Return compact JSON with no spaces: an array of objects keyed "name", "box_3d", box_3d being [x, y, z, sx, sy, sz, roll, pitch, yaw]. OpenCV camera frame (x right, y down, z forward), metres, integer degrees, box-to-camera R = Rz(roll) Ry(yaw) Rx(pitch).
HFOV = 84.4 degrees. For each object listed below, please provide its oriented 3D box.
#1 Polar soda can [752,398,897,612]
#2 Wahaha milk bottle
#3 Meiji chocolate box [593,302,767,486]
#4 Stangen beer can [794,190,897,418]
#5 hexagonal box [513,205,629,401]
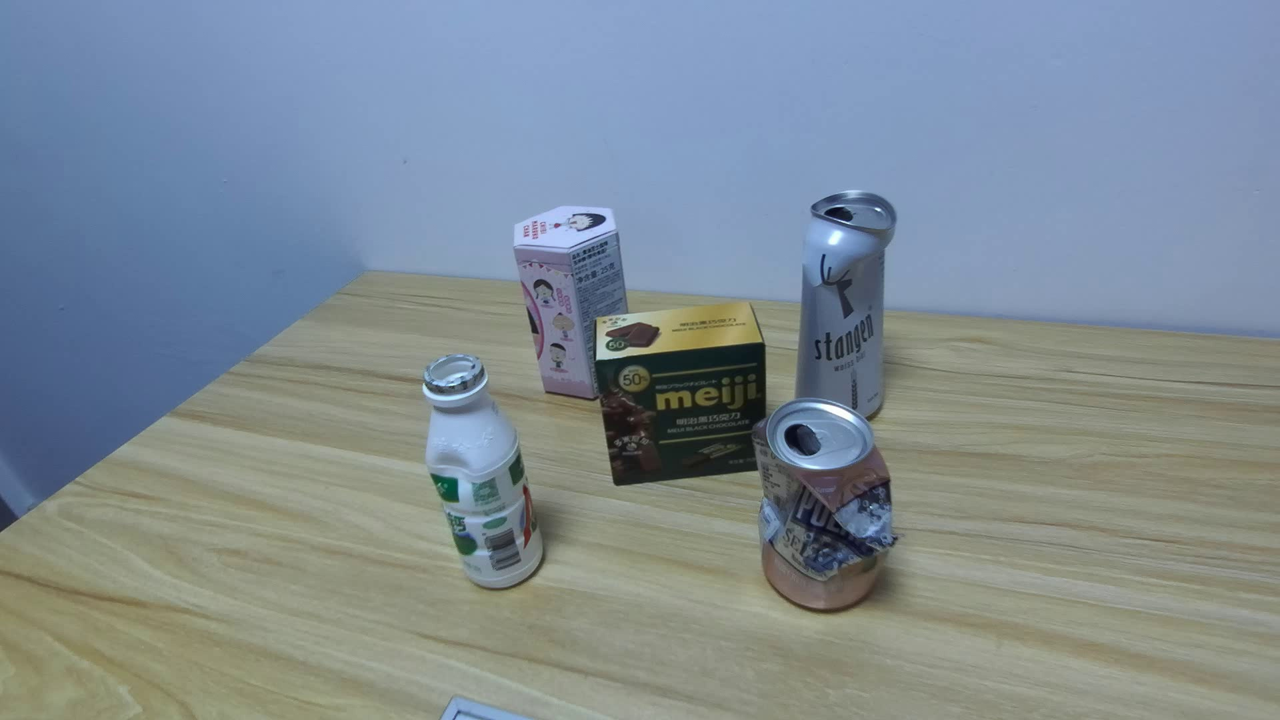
[{"name":"Polar soda can","box_3d":[0.099,0.080,0.383,0.074,0.114,0.070,-1,39,16]},{"name":"Wahaha milk bottle","box_3d":[-0.091,0.071,0.410,0.053,0.137,0.053,-4,33,3]},{"name":"Meiji chocolate box","box_3d":[0.028,0.024,0.481,0.110,0.109,0.056,-6,34,1]},{"name":"Stangen beer can","box_3d":[0.144,-0.032,0.497,0.066,0.162,0.077,-4,35,6]},{"name":"hexagonal box","box_3d":[-0.052,-0.047,0.577,0.084,0.136,0.091,-9,34,-3]}]
